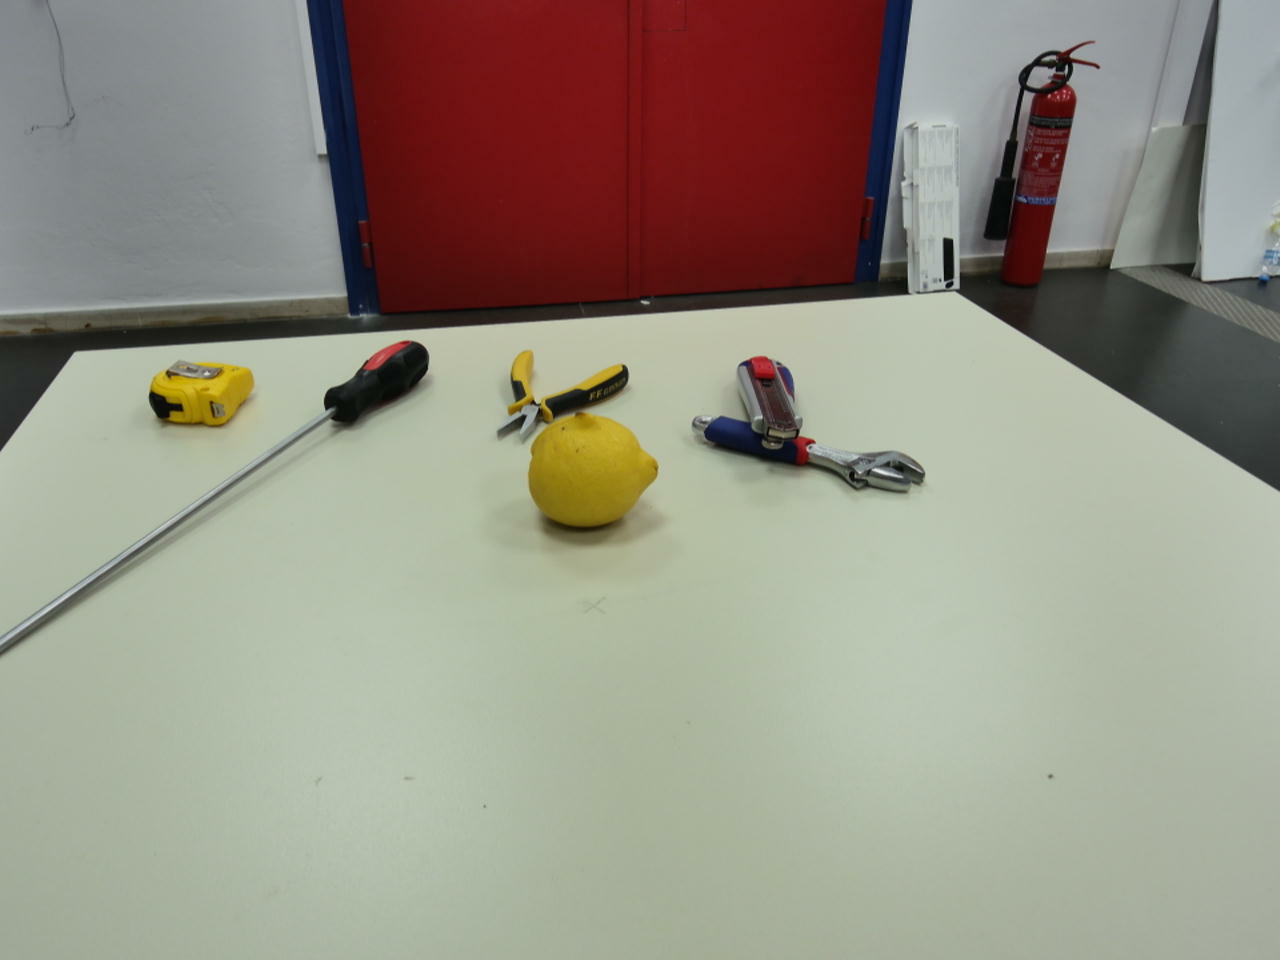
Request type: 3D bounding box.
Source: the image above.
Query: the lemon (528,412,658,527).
[{"bbox_3d":[-0.032,-0.009,0.593,0.071,0.071,0.070,24,34,38],"label":"lemon"}]
